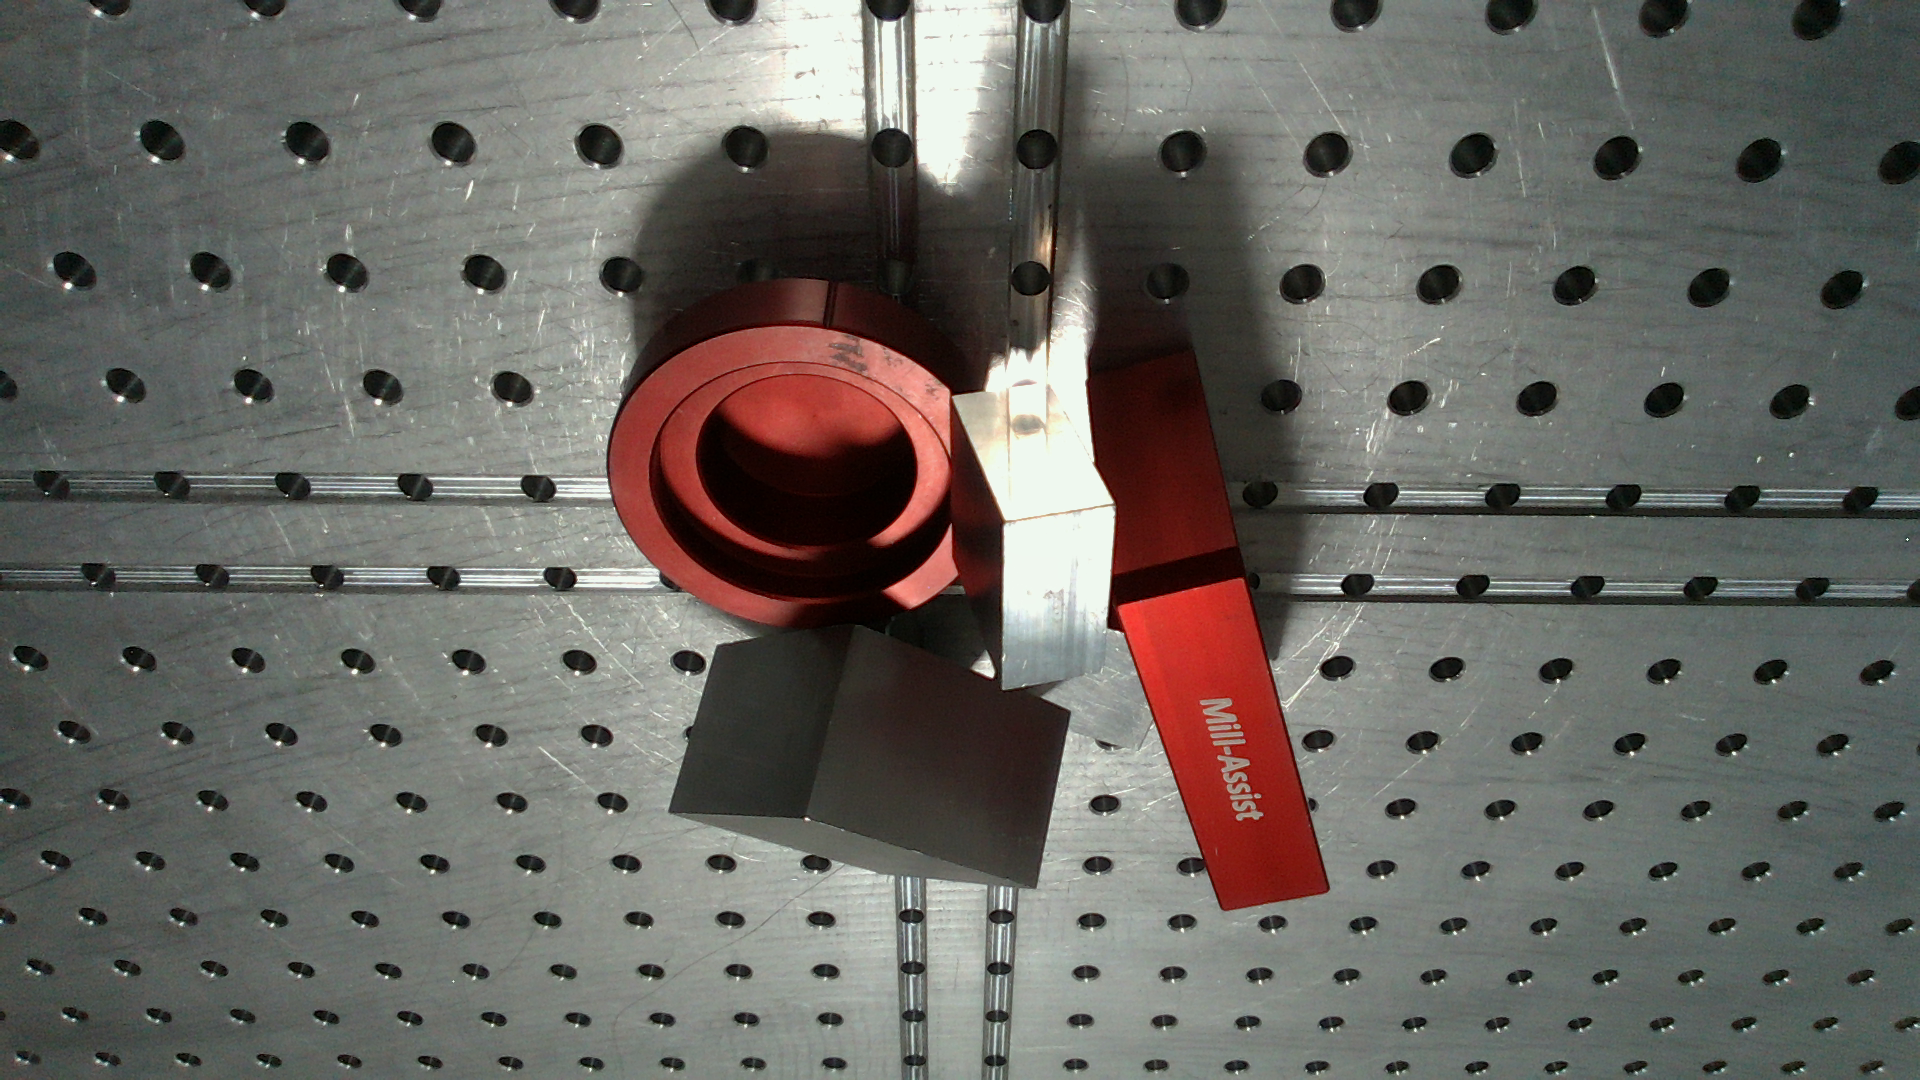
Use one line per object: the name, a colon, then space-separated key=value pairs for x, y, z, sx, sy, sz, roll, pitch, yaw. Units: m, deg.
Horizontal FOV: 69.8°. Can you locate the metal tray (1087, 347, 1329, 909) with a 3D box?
metal tray: x=0.068 y=0.026 z=0.373 sx=0.030 sy=0.090 sz=0.130 roll=-14 pitch=129 yaw=12

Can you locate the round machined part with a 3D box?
round machined part: x=-0.040 y=-0.026 z=0.360 sx=0.098 sy=0.042 sz=0.098 roll=0 pitch=130 yaw=0

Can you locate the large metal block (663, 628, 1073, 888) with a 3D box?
large metal block: x=-0.027 y=0.065 z=0.402 sx=0.080 sy=0.050 sz=0.080 roll=24 pitch=159 yaw=-33

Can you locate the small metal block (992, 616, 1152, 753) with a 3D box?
small metal block: x=0.039 y=0.033 z=0.415 sx=0.050 sy=0.025 sz=0.050 roll=16 pitch=134 yaw=1

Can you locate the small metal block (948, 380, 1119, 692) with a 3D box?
small metal block: x=0.016 y=-0.002 z=0.322 sx=0.025 sy=0.050 sz=0.050 roll=-9 pitch=130 yaw=-11
